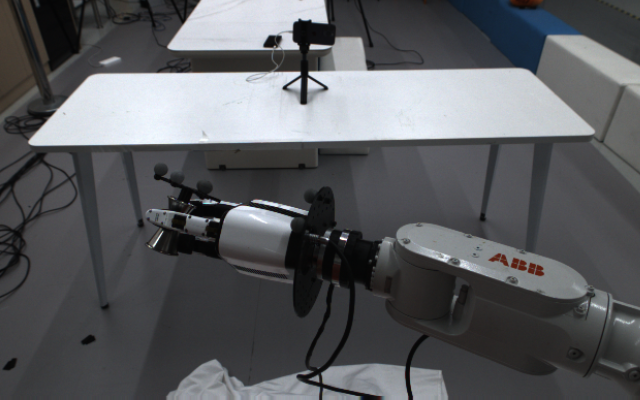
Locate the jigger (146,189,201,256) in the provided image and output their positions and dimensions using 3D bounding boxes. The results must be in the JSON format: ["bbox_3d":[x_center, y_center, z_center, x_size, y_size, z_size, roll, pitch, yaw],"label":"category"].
[{"bbox_3d":[-0.189,0.031,0.616,0.043,0.071,0.043,24,-2,1],"label":"jigger"}]
